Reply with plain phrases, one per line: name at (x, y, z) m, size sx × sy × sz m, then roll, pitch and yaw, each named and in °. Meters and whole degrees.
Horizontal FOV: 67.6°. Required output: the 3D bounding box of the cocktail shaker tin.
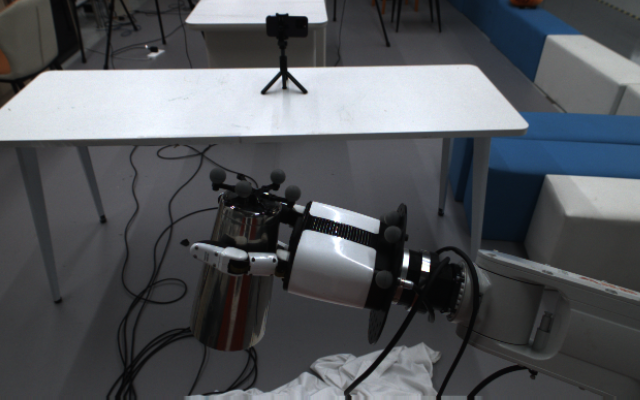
cocktail shaker tin at (-0.088, 0.073, 0.553) m, size 0.093 × 0.170 × 0.093 m, roll 12°, pitch 25°, yaw -6°
